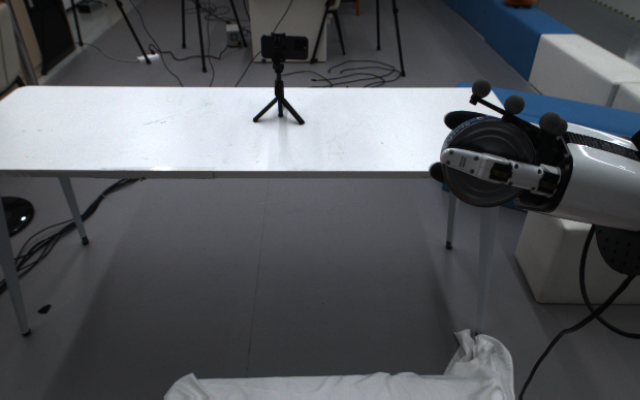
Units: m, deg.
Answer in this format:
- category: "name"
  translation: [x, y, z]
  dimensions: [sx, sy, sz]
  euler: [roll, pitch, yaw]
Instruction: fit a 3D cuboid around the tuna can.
- category: "tuna can"
  translation: [0.165, -0.041, 0.477]
  dimensions: [0.085, 0.085, 0.034]
  euler: [7, 17, 6]
